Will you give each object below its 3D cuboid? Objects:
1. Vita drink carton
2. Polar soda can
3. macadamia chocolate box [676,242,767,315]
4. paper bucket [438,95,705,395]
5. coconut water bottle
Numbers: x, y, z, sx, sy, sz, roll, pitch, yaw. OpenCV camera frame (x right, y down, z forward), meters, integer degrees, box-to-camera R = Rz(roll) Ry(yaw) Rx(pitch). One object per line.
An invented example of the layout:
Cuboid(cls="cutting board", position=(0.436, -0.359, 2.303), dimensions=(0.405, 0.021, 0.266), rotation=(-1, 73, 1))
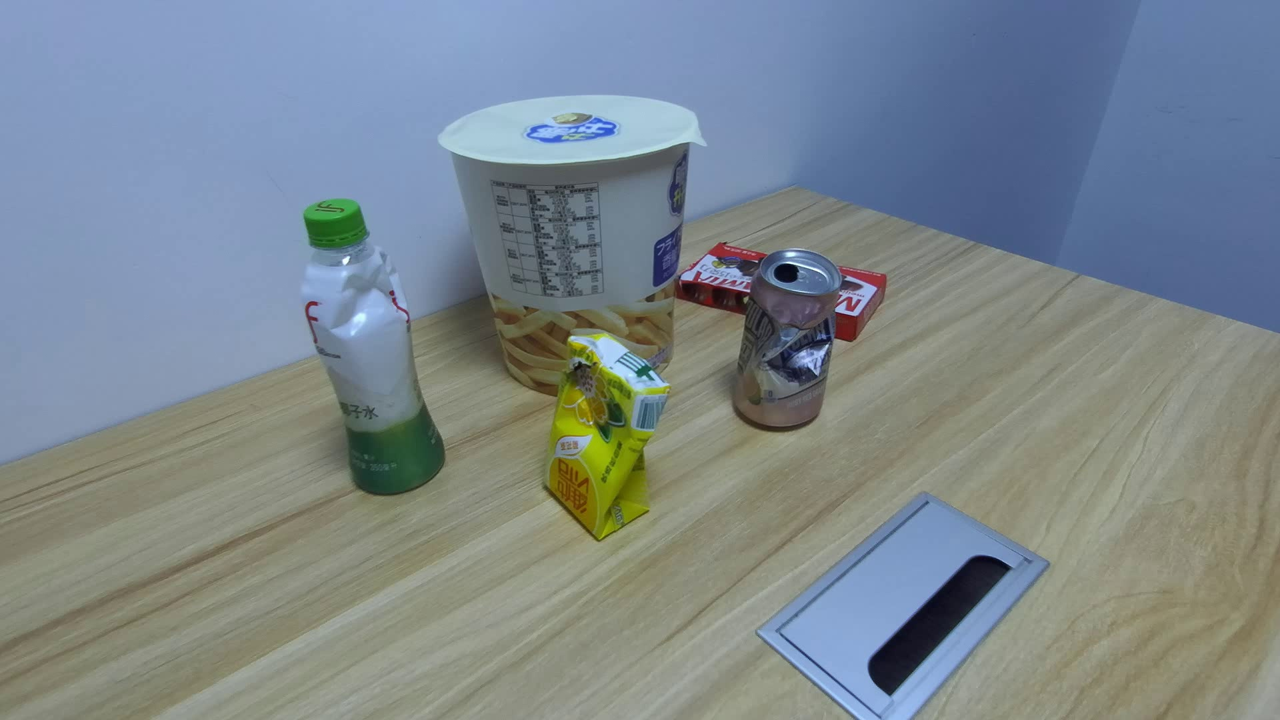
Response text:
Cuboid(cls="Vita drink carton", position=(-0.020, 0.044, 0.436), dimensions=(0.042, 0.108, 0.086), rotation=(-10, 33, -39))
Cuboid(cls="Polar soda can", position=(0.106, -0.010, 0.503), dimensions=(0.066, 0.122, 0.071), rotation=(6, 35, 3))
Cuboid(cls="macadamia chocolate box", position=(0.134, -0.071, 0.681), dimensions=(0.182, 0.028, 0.106), rotation=(16, 36, 27))
Cuboid(cls="paper bucket", position=(-0.046, -0.091, 0.565), dimensions=(0.198, 0.195, 0.198), rotation=(-2, 34, 1))
Cuboid(cls="coconut water bottle", position=(-0.169, -0.006, 0.439), dimensions=(0.069, 0.186, 0.069), rotation=(-1, 34, 1))
